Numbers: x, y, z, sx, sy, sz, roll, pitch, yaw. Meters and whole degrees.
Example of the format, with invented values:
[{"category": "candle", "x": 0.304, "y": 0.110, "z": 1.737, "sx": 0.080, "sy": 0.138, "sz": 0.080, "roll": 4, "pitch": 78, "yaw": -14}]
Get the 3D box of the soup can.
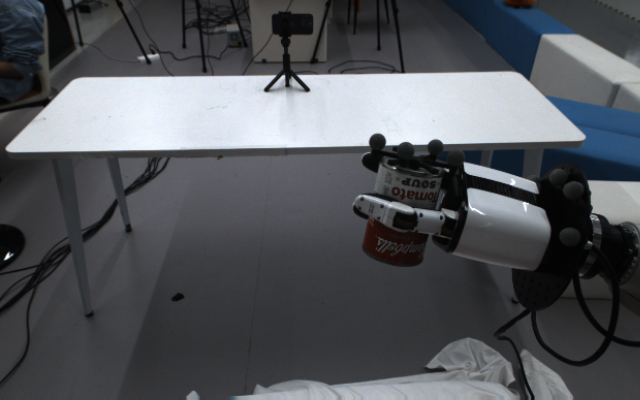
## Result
[{"category": "soup can", "x": 0.089, "y": 0.010, "z": 0.513, "sx": 0.067, "sy": 0.101, "sz": 0.067, "roll": 9, "pitch": 19, "yaw": -3}]
